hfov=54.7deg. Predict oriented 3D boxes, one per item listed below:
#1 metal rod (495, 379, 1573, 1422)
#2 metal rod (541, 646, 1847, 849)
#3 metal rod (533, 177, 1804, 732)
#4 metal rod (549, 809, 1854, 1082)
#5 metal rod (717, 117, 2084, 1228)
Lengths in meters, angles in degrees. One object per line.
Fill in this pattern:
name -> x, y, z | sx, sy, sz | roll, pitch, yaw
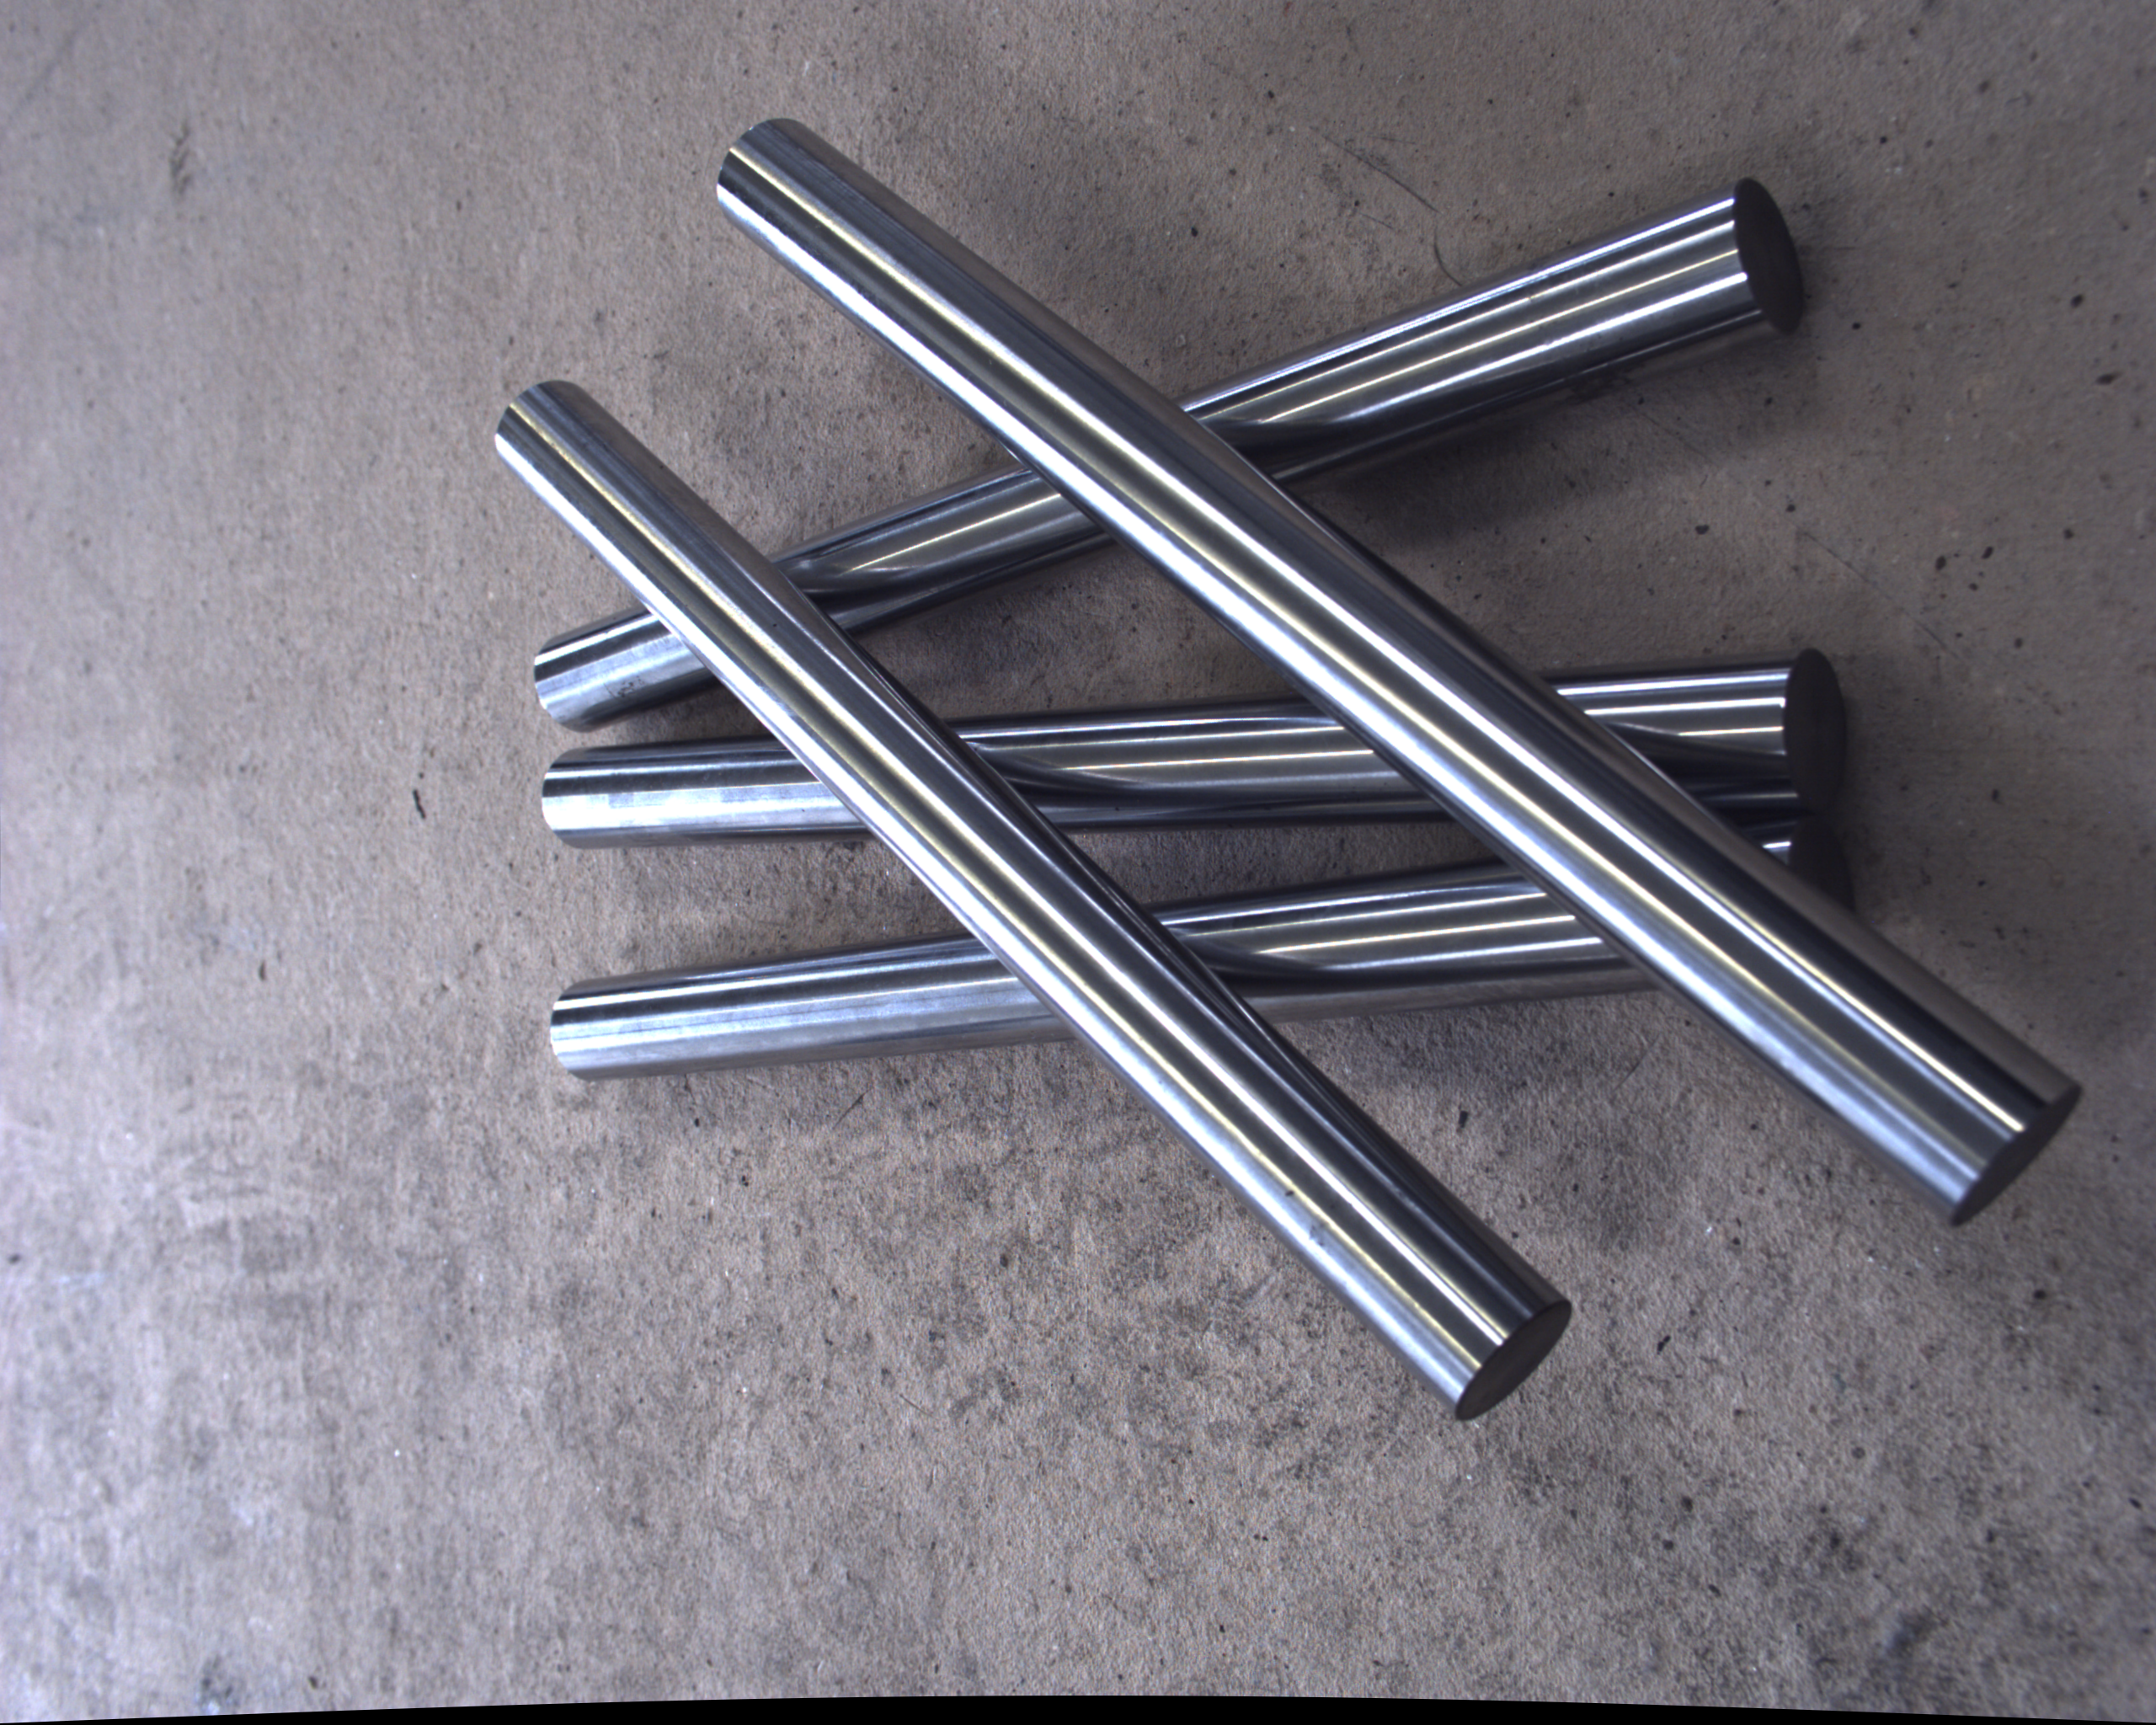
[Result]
metal rod -> -0.027, -0.011, 0.396 | 0.300, 0.025, 0.025 | 43, 116, 31
metal rod -> -0.004, -0.018, 0.410 | 0.300, 0.025, 0.025 | -1, 89, 40
metal rod -> -0.008, -0.068, 0.413 | 0.300, 0.025, 0.025 | -12, 82, 39
metal rod -> -0.003, 0.022, 0.409 | 0.300, 0.025, 0.025 | -9, 84, 39
metal rod -> 0.030, -0.051, 0.349 | 0.300, 0.025, 0.025 | 44, 116, 31
